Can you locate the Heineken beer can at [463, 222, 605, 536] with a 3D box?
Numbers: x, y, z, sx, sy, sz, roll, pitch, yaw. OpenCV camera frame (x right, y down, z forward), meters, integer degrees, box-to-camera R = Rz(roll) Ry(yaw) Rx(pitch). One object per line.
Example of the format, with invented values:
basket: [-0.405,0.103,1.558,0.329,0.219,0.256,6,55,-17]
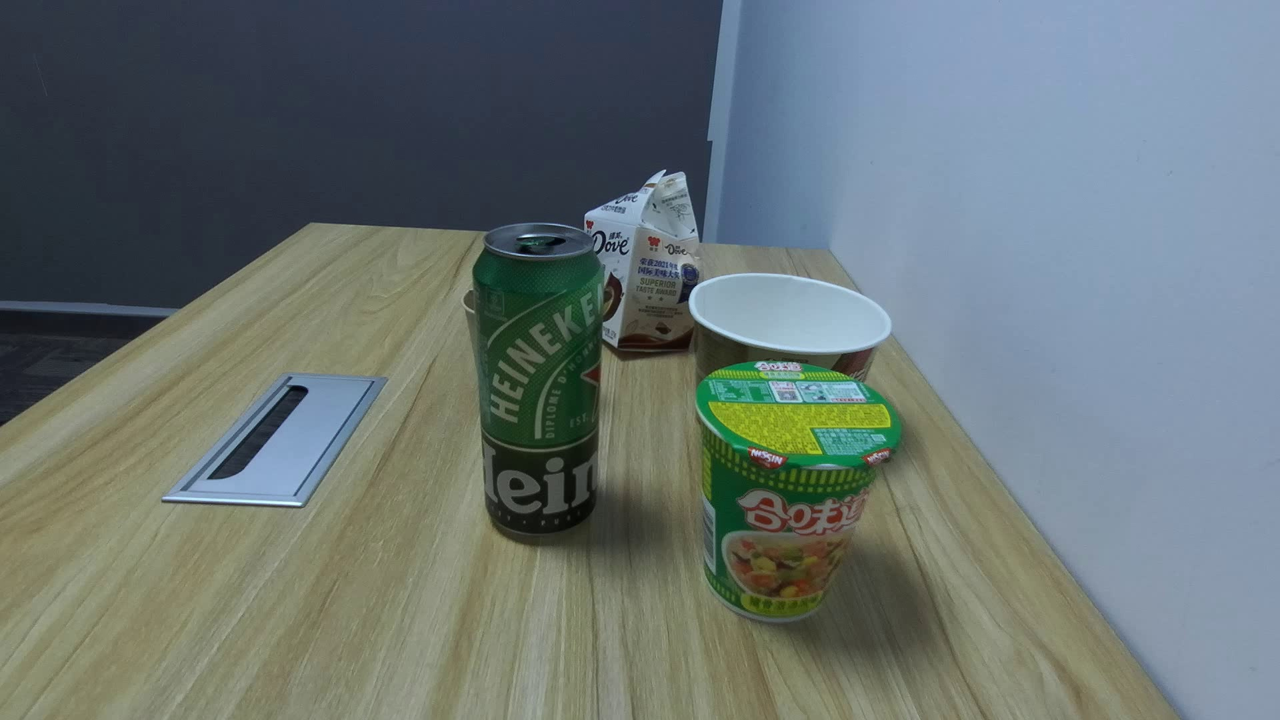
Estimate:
Heineken beer can: [-0.054,0.016,0.390,0.067,0.169,0.067,3,26,-1]

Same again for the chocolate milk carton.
chocolate milk carton: [0.002,-0.085,0.621,0.077,0.155,0.089,-7,14,-29]

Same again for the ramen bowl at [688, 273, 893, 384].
ramen bowl: [0.100,0.004,0.511,0.140,0.095,0.140,2,27,-1]

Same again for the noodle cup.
noodle cup: [0.071,0.070,0.360,0.097,0.110,0.097,4,28,-2]
